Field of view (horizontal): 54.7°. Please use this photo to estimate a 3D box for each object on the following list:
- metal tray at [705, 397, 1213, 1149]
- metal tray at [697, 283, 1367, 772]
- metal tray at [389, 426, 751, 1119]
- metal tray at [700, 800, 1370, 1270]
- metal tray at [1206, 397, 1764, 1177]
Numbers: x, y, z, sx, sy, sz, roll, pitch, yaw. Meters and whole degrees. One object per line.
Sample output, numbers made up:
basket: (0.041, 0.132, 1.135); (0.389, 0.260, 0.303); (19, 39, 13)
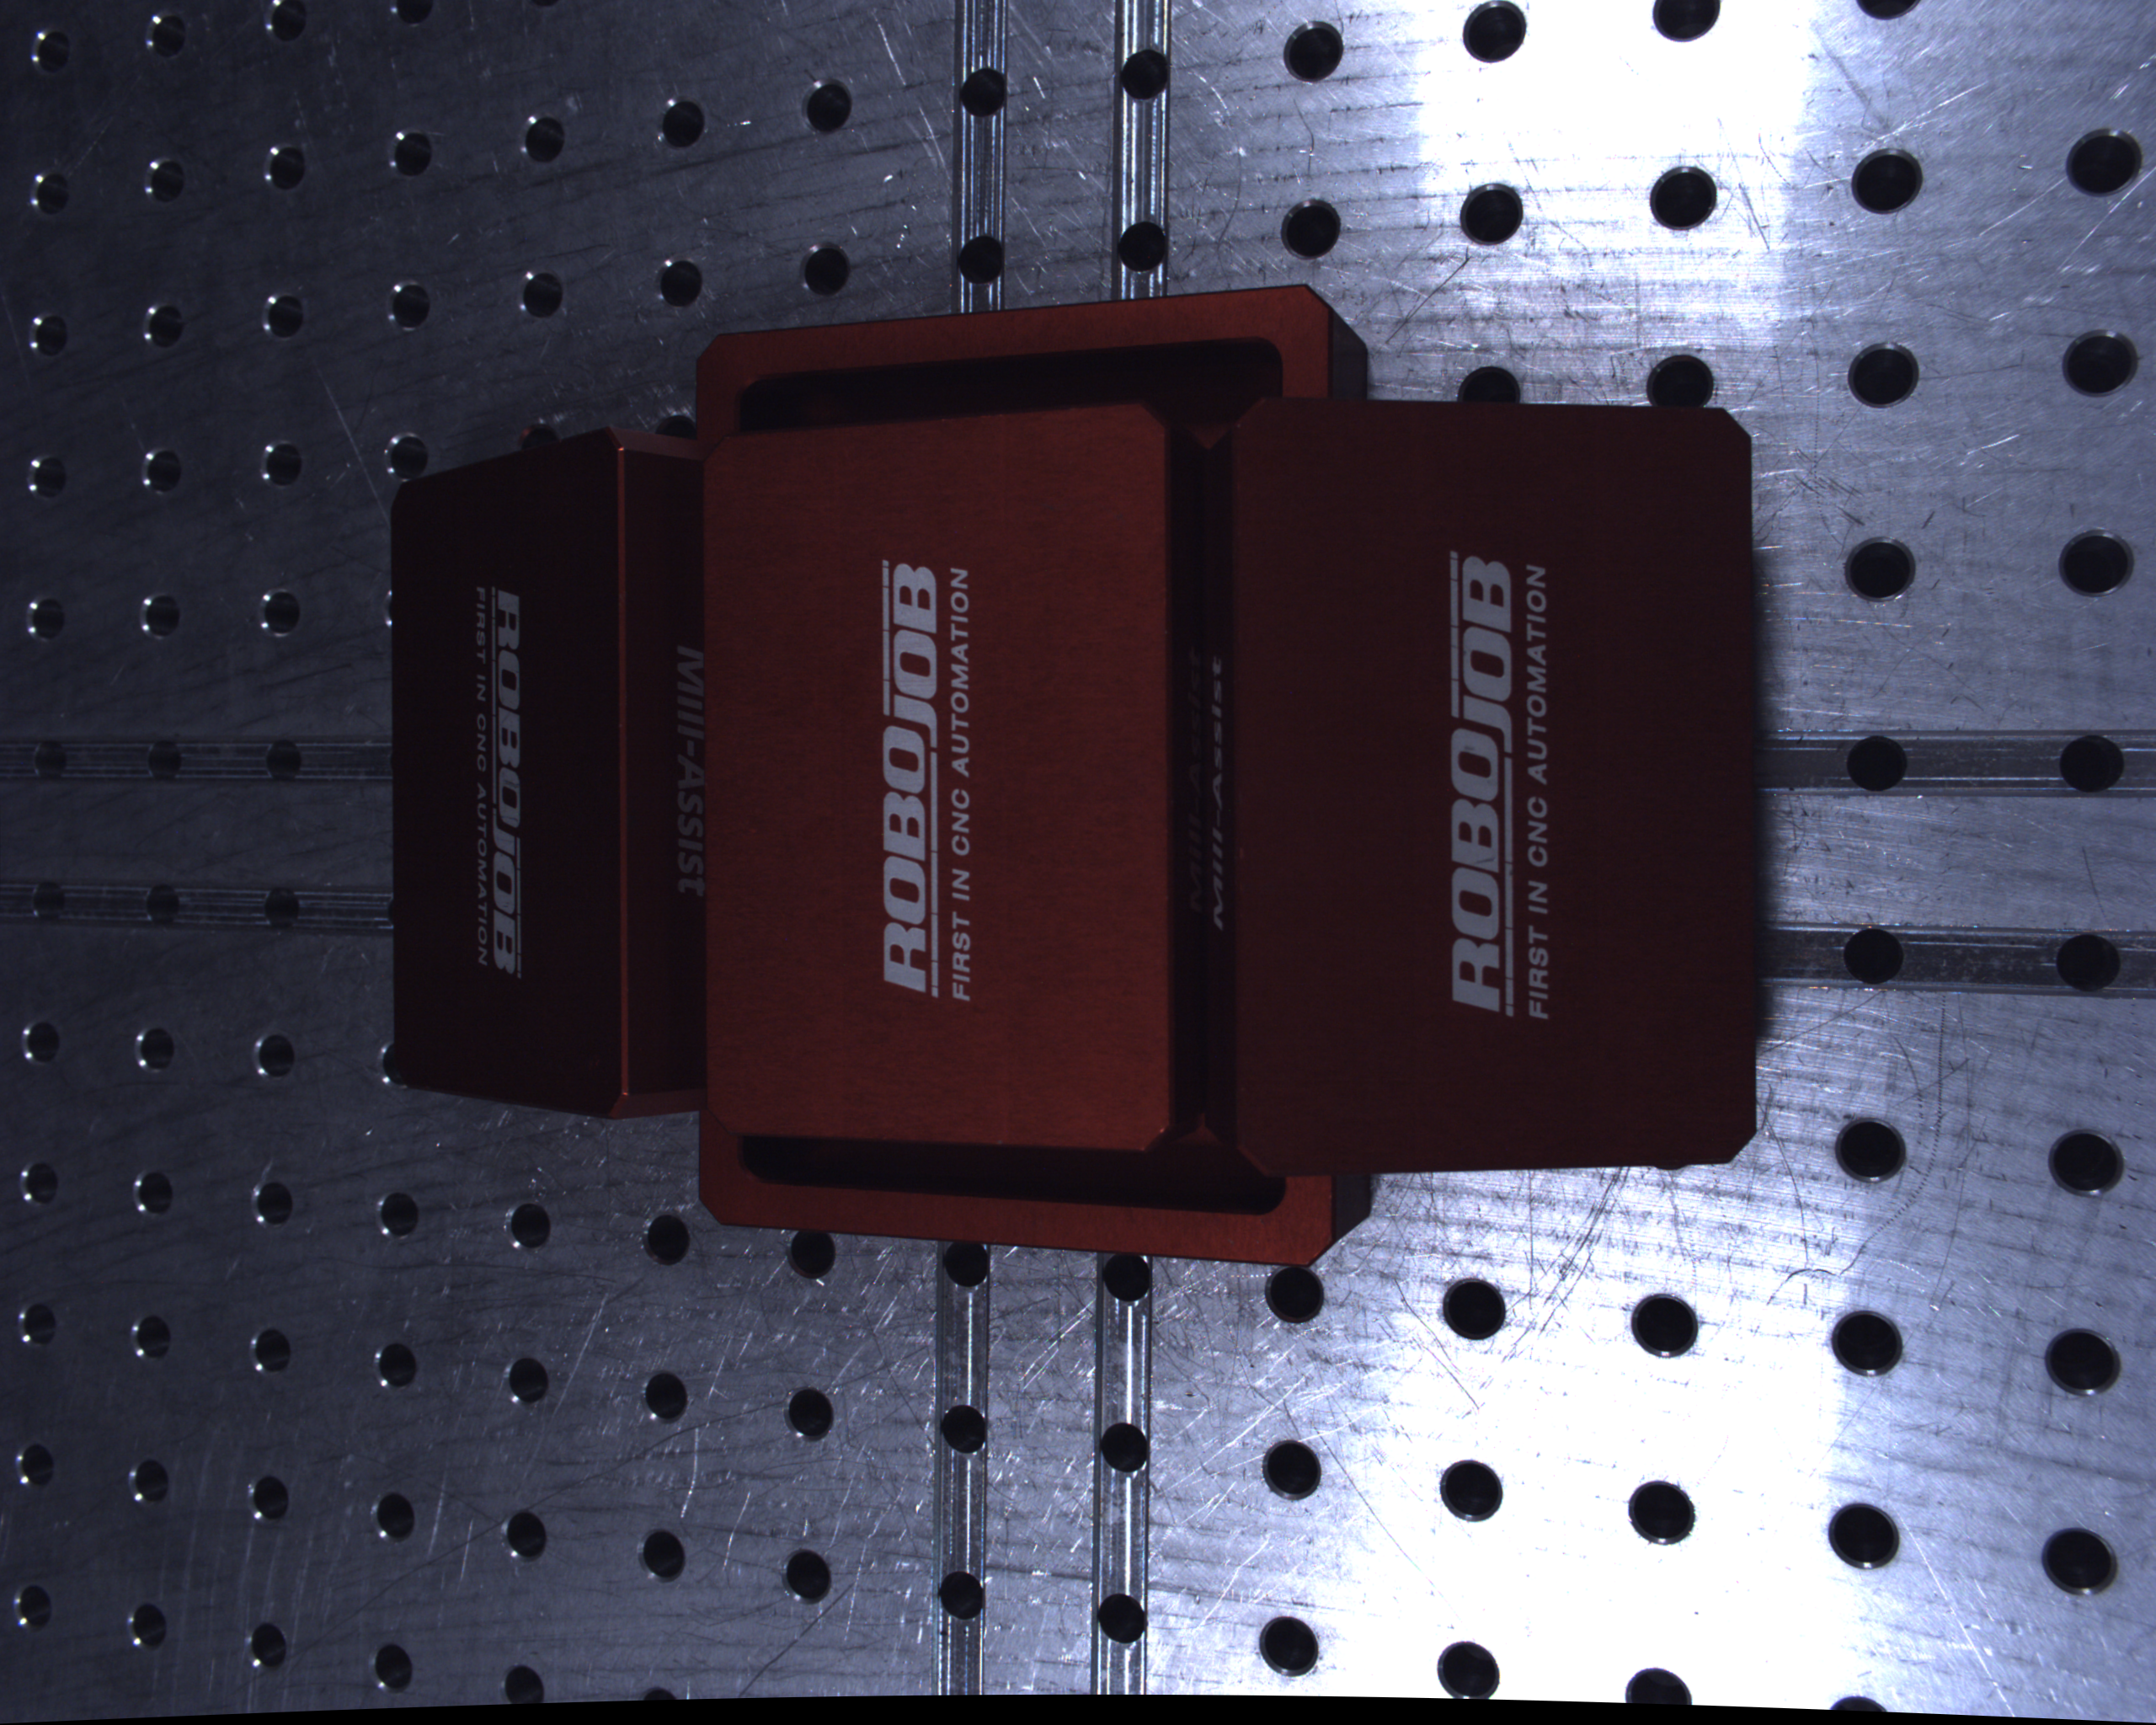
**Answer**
metal tray: (-0.021, -0.015, 0.384); (0.090, 0.030, 0.129); (0, 90, 19)
metal tray: (-0.011, -0.061, 0.412); (0.130, 0.030, 0.089); (1, 91, 19)
metal tray: (-0.106, -0.017, 0.427); (0.090, 0.030, 0.129); (0, 90, 45)
metal tray: (-0.010, 0.029, 0.413); (0.130, 0.030, 0.089); (1, 91, 19)
metal tray: (0.070, -0.013, 0.365); (0.091, 0.030, 0.129); (-1, 90, -8)
